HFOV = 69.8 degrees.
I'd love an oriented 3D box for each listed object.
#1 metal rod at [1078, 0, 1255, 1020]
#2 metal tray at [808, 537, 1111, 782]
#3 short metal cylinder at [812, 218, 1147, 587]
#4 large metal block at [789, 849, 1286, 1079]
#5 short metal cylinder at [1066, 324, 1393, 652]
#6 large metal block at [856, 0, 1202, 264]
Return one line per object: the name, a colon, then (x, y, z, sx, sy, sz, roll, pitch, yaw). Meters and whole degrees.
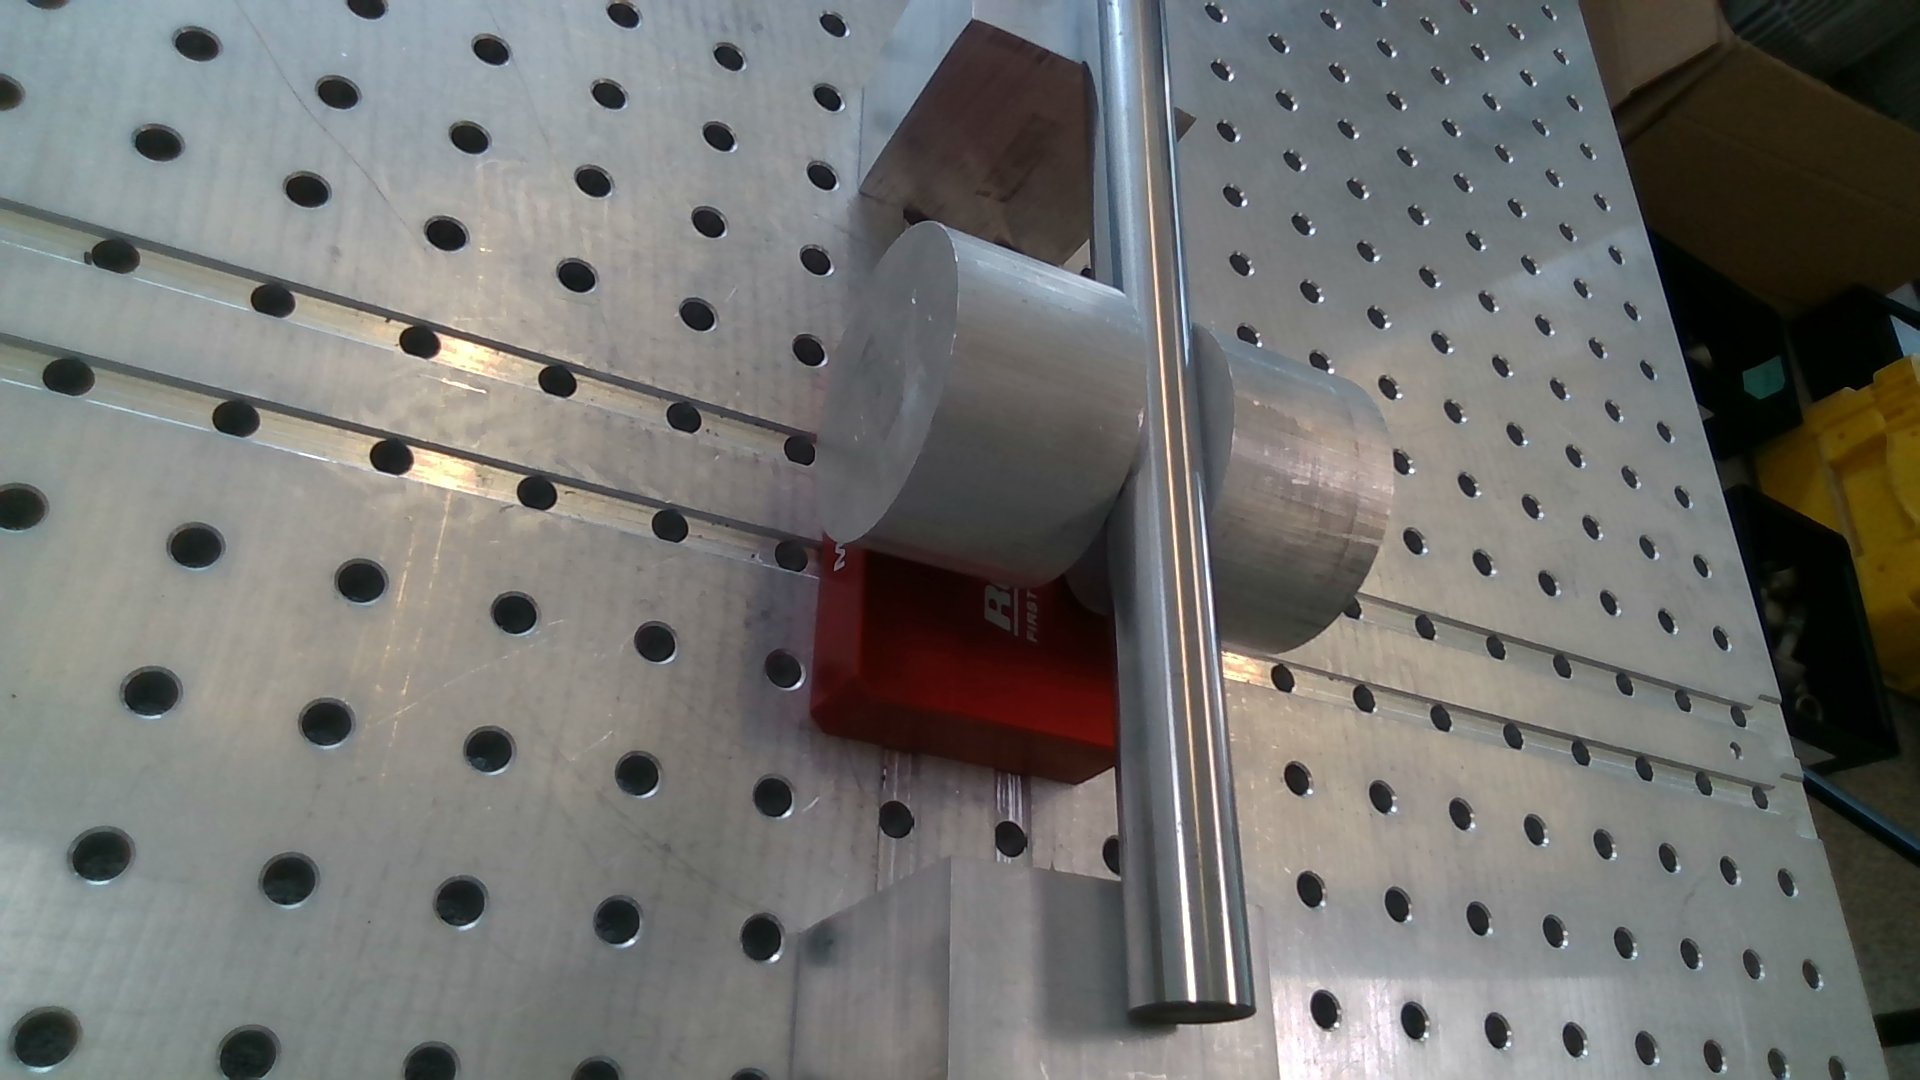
metal rod: (0.046, -0.039, 0.342, 0.025, 0.025, 0.299, 15, 59, -25)
metal tray: (0.007, -0.003, 0.399, 0.090, 0.030, 0.130, 15, 58, -24)
short metal cylinder: (0.002, -0.033, 0.341, 0.050, 0.080, 0.080, 15, 58, -24)
large metal block: (0.015, 0.110, 0.310, 0.080, 0.080, 0.050, 15, 58, -24)
short metal cylinder: (0.069, -0.013, 0.372, 0.050, 0.080, 0.080, 15, 58, -24)
large metal block: (0.020, -0.145, 0.449, 0.080, 0.080, 0.050, 15, 58, -24)
